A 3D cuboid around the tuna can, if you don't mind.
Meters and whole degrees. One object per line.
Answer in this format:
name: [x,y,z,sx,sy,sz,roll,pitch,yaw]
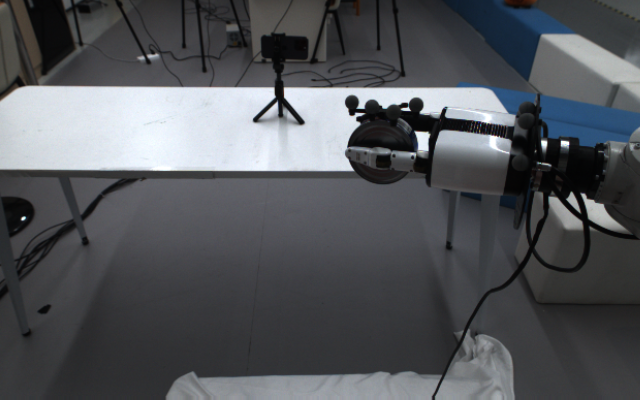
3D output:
tuna can: [0.081,-0.067,0.617,0.085,0.085,0.034,13,29,16]
